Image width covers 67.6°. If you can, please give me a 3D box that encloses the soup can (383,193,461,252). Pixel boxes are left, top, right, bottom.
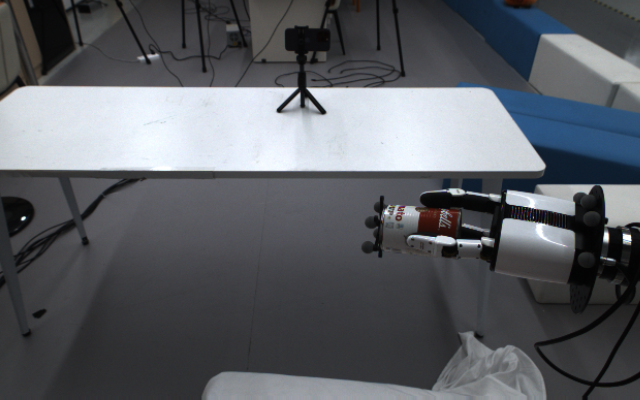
[{"bbox_3d":[0.141,0.042,0.659,0.101,0.067,0.067,4,34,18],"label":"soup can"}]
